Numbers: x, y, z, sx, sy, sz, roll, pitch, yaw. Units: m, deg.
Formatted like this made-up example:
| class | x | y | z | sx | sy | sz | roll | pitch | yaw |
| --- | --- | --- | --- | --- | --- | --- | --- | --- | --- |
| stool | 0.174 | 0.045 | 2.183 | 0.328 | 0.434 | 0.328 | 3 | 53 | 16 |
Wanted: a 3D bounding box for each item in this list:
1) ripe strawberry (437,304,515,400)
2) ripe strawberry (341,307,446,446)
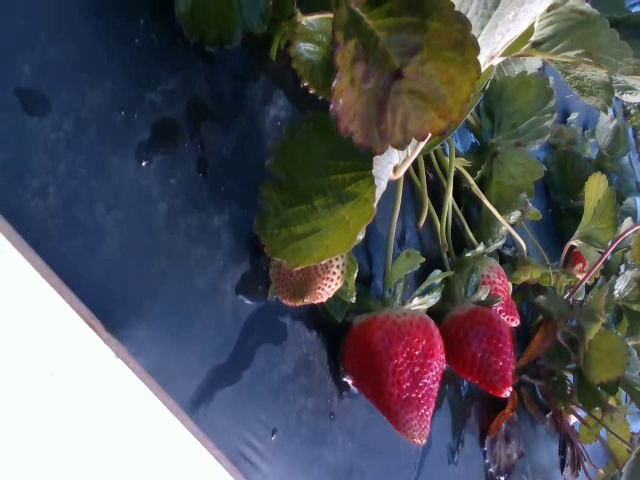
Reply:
| class | x | y | z | sx | sy | sz | roll | pitch | yaw |
| --- | --- | --- | --- | --- | --- | --- | --- | --- | --- |
| ripe strawberry | 0.086 | 0.063 | 0.325 | 0.044 | 0.055 | 0.042 | -13 | -34 | -21 |
| ripe strawberry | 0.036 | 0.058 | 0.255 | 0.050 | 0.065 | 0.050 | 13 | -49 | -25 |
